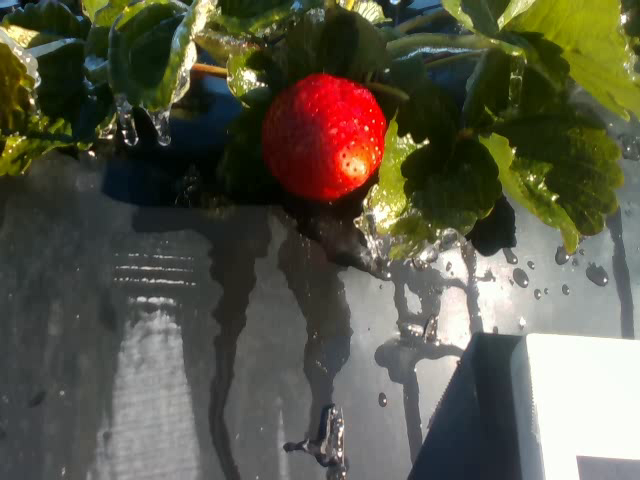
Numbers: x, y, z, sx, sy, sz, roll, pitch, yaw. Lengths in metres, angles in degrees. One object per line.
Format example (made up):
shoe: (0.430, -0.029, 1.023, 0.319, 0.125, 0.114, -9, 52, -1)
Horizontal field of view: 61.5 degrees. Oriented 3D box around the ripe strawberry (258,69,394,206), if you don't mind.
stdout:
ripe strawberry: (0.003, -0.025, 0.146, 0.041, 0.047, 0.053, -2, 20, -3)
